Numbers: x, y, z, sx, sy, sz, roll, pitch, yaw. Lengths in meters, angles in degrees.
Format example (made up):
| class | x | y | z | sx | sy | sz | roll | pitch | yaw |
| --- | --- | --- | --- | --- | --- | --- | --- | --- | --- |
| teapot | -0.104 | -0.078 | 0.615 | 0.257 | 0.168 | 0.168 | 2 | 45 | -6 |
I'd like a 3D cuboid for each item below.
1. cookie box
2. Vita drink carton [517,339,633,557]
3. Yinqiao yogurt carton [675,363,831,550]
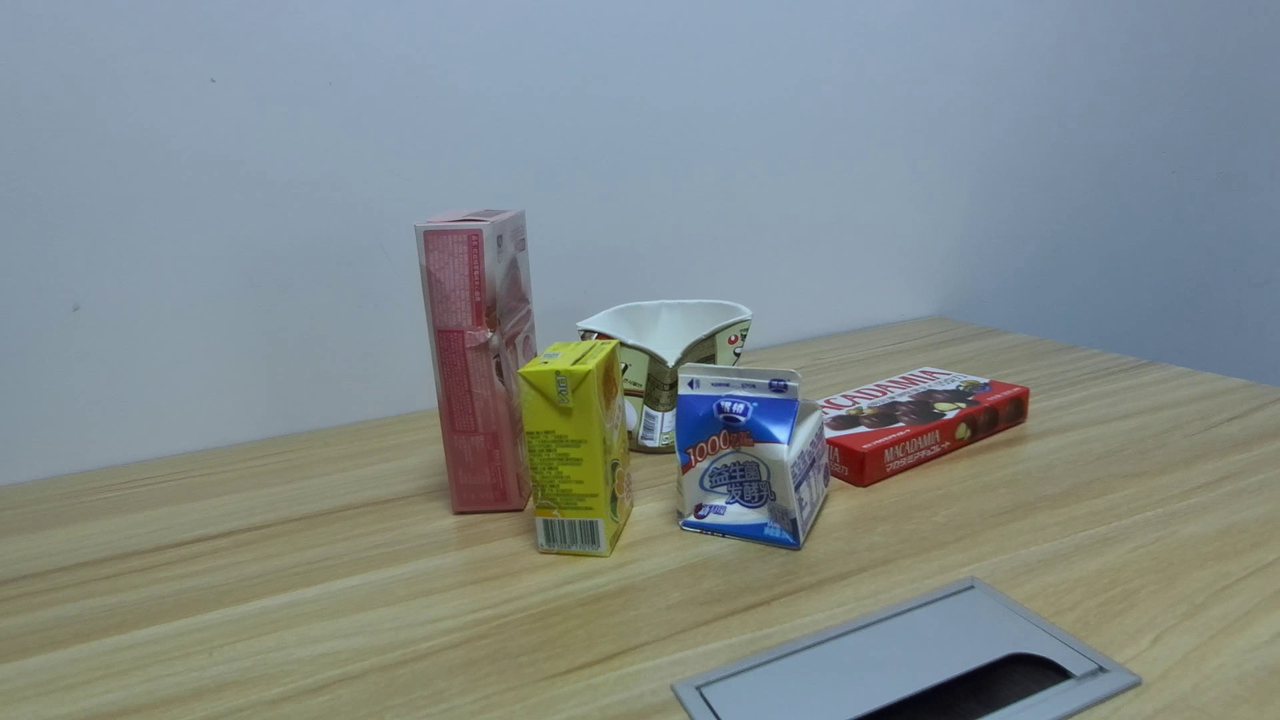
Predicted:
| class | x | y | z | sx | sy | sz | roll | pitch | yaw |
| --- | --- | --- | --- | --- | --- | --- | --- | --- | --- |
| cookie box | -0.100 | -0.002 | 0.466 | 0.049 | 0.187 | 0.105 | -3 | 15 | 2 |
| Vita drink carton | -0.034 | 0.048 | 0.408 | 0.043 | 0.109 | 0.066 | -1 | 16 | 12 |
| Yinqiao yogurt carton | 0.063 | 0.047 | 0.407 | 0.077 | 0.094 | 0.071 | 3 | 21 | 29 |
